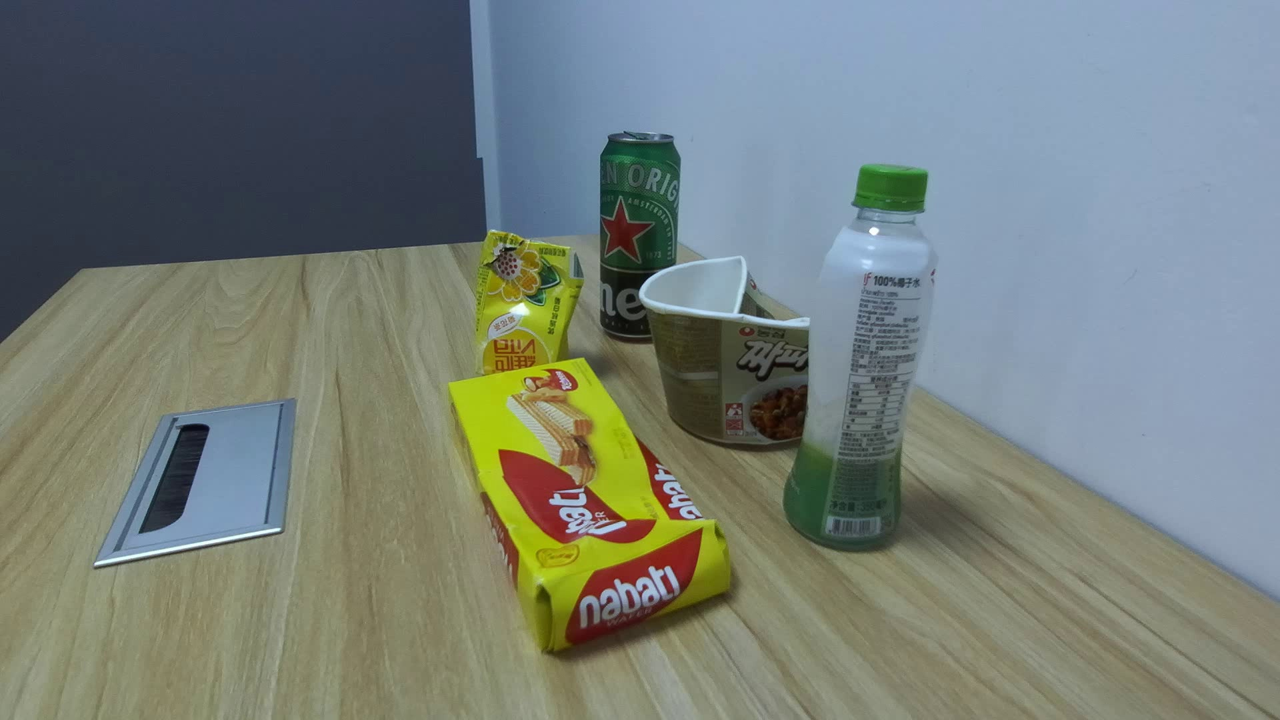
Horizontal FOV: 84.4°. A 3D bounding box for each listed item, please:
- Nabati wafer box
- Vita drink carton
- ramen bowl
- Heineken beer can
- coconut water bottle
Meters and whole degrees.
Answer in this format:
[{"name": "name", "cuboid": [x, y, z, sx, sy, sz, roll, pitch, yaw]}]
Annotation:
[{"name": "Nabati wafer box", "cuboid": [-0.034, 0.064, 0.388, 0.107, 0.042, 0.203, -11, 28, -21]}, {"name": "Vita drink carton", "cuboid": [-0.085, -0.039, 0.539, 0.087, 0.108, 0.042, 10, 8, 14]}, {"name": "ramen bowl", "cuboid": [0.066, -0.008, 0.484, 0.137, 0.098, 0.137, 2, 22, 0]}, {"name": "Heineken beer can", "cuboid": [0.001, -0.101, 0.603, 0.067, 0.169, 0.067, 1, 20, 0]}, {"name": "coconut water bottle", "cuboid": [0.114, 0.000, 0.353, 0.069, 0.186, 0.069, 2, 22, -1]}]
